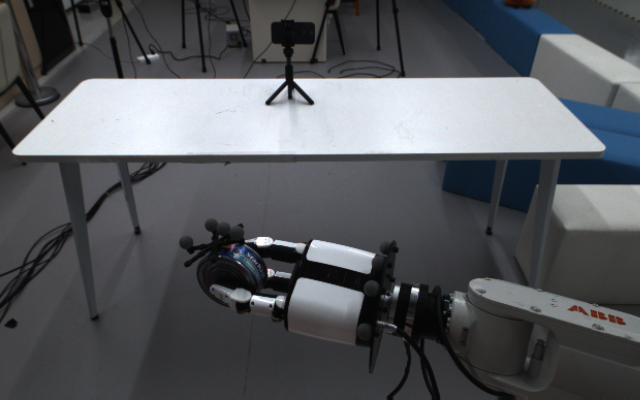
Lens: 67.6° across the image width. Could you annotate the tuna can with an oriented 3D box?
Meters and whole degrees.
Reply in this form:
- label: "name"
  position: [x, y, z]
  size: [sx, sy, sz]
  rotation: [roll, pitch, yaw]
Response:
- label: "tuna can"
  position: [-0.108, 0.102, 0.612]
  size: [0.085, 0.085, 0.034]
  rotation: [11, 34, 13]
